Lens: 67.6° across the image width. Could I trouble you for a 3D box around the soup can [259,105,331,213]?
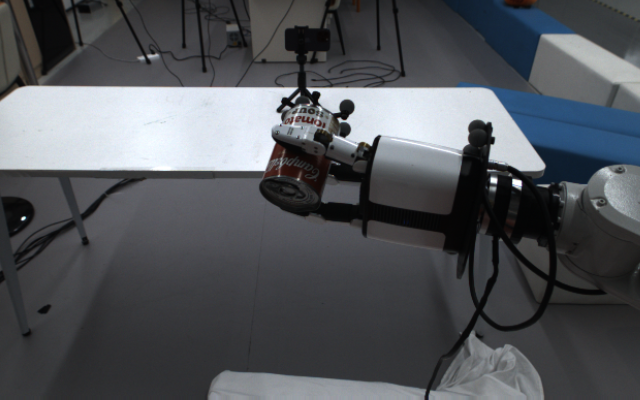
[{"bbox_3d":[-0.018,-0.048,0.535,0.067,0.067,0.101,9,61,10],"label":"soup can"}]
